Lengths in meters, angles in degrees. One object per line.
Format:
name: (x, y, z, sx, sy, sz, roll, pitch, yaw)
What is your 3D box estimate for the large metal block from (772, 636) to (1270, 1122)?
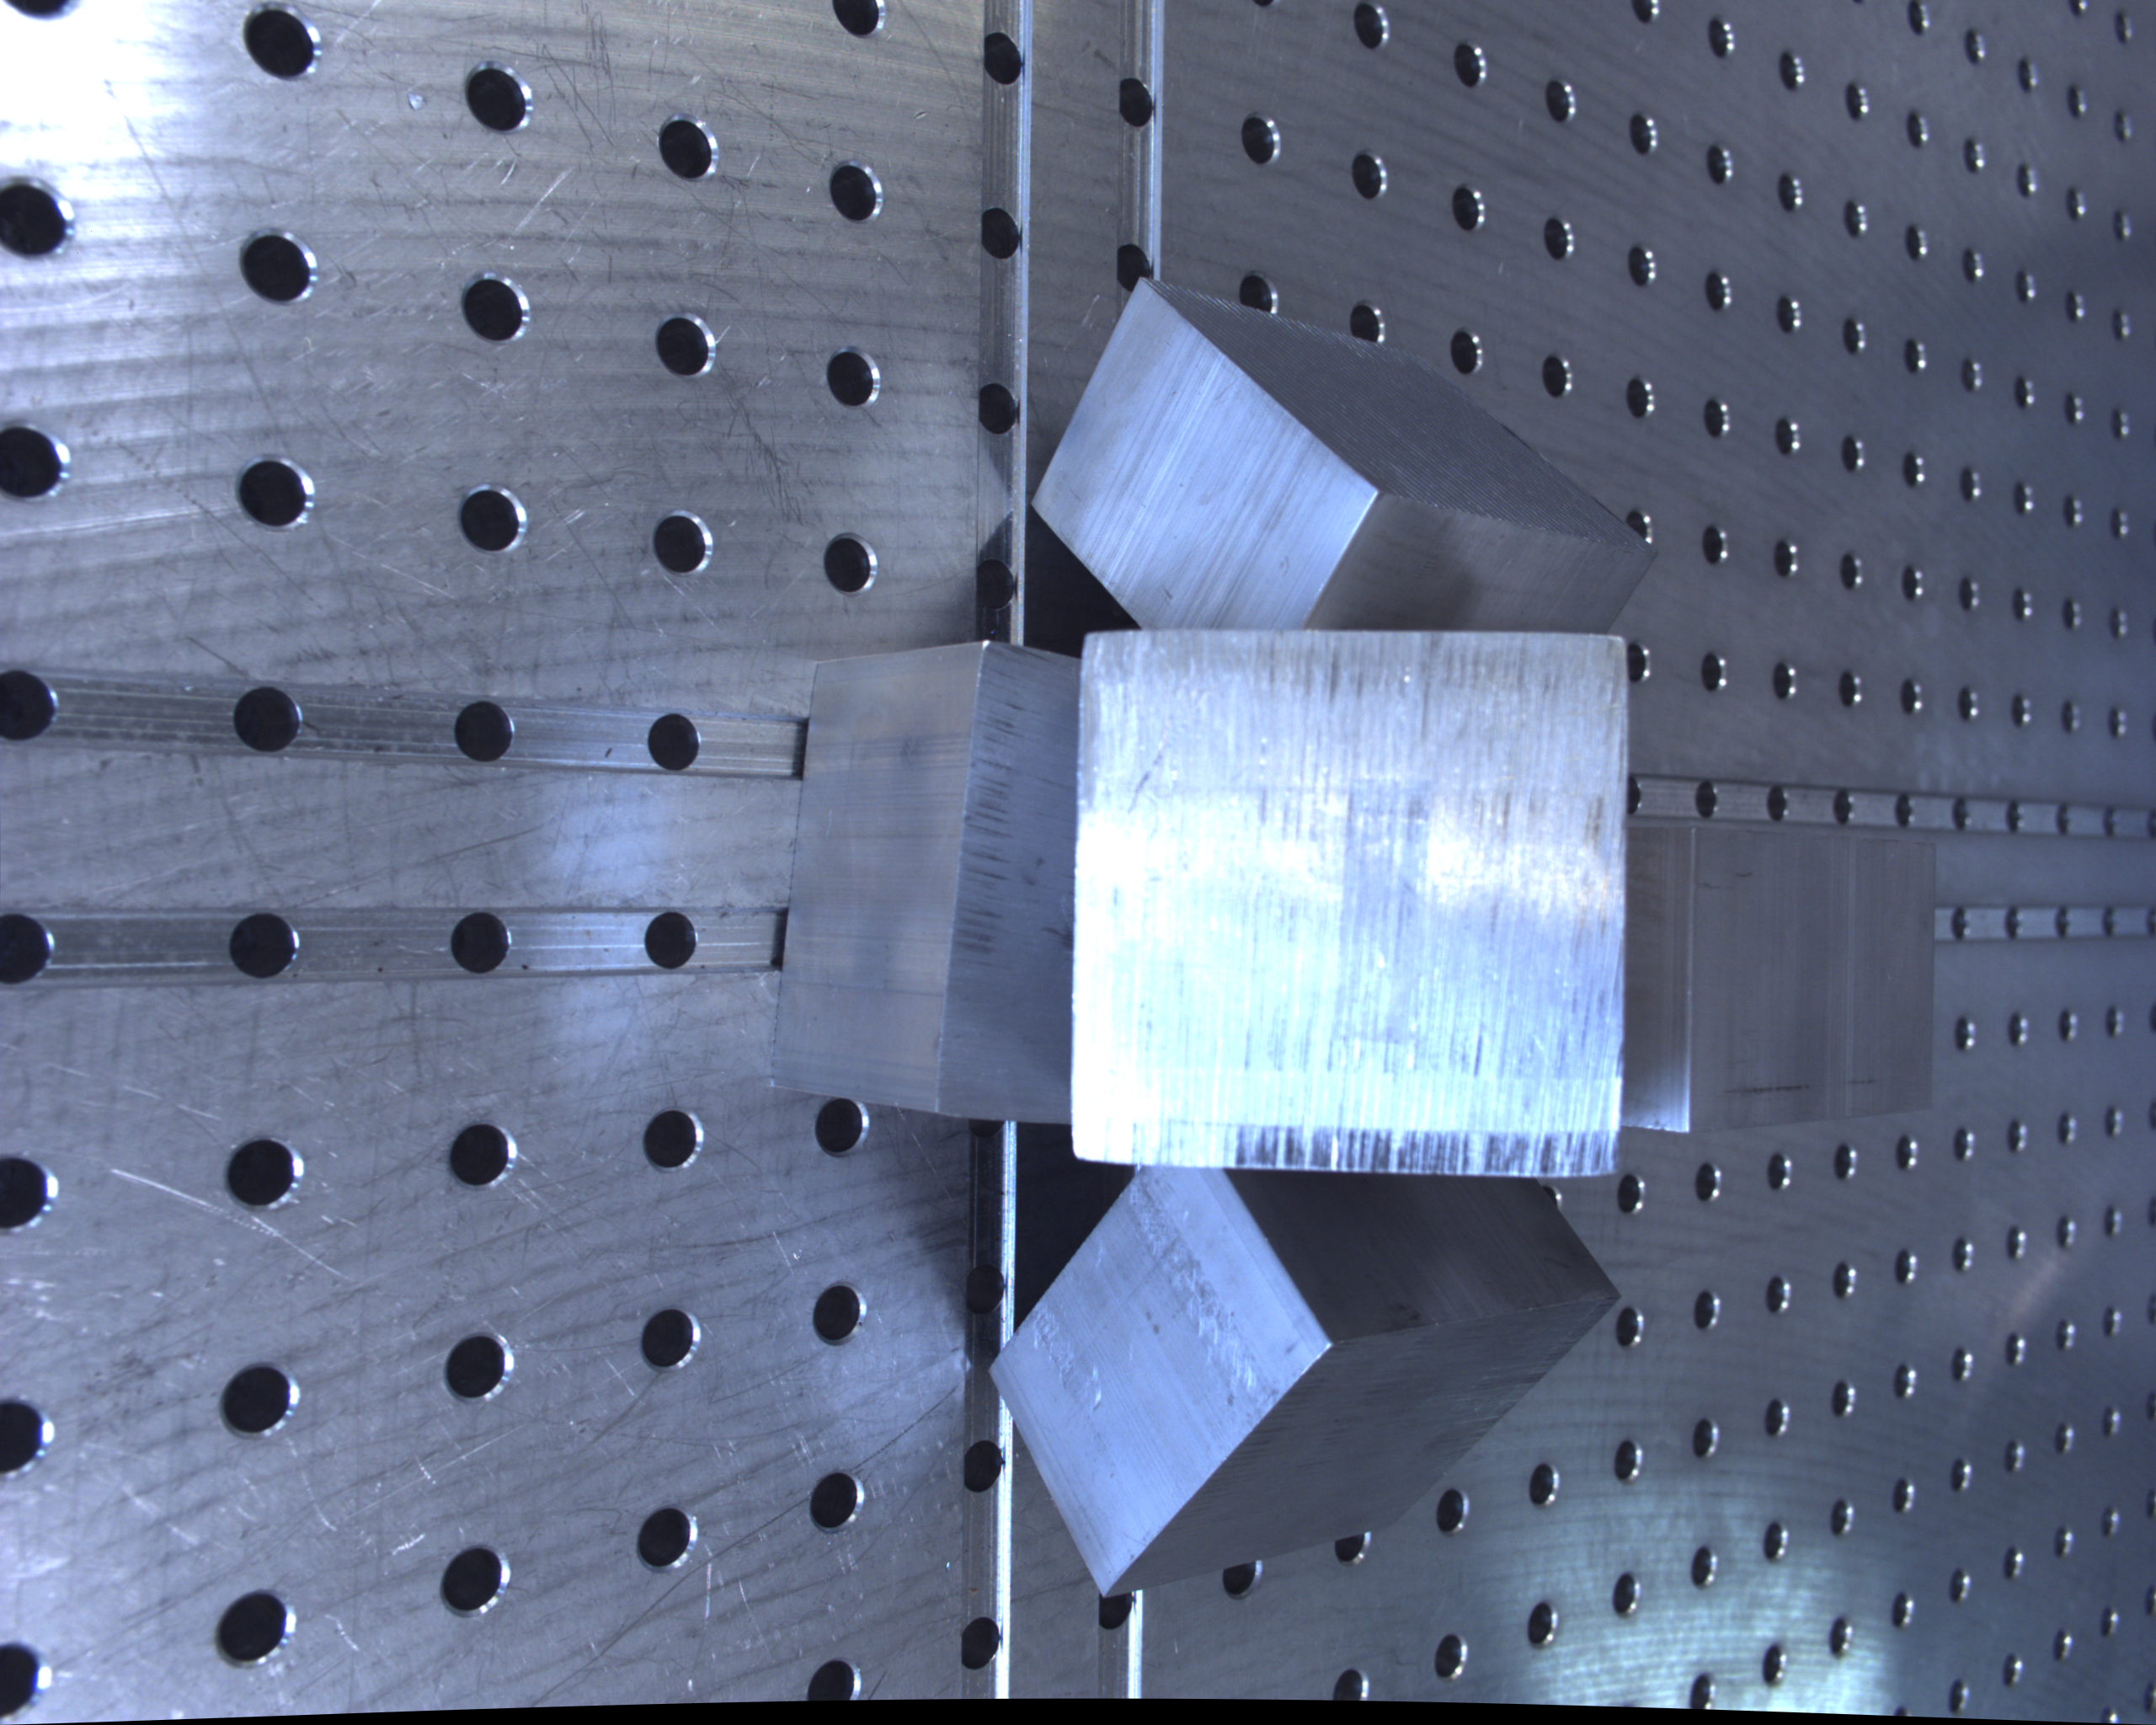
large metal block: (-0.005, 0.006, 0.388, 0.081, 0.050, 0.080, 9, 85, -40)

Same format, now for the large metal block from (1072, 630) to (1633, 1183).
large metal block: (0.042, 0.006, 0.332, 0.080, 0.050, 0.080, 1, 90, 5)

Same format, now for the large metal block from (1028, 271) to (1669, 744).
large metal block: (0.051, -0.066, 0.405, 0.081, 0.080, 0.050, 3, 127, -40)

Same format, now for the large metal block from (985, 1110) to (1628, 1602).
large metal block: (0.042, 0.091, 0.401, 0.081, 0.050, 0.080, 3, 133, -40)

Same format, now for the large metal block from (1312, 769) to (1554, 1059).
large metal block: (0.061, 0.010, 0.442, 0.081, 0.050, 0.080, 4, 88, -40)

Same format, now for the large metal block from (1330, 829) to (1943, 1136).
large metal block: (0.105, 0.020, 0.395, 0.081, 0.080, 0.050, 2, 89, -40)
